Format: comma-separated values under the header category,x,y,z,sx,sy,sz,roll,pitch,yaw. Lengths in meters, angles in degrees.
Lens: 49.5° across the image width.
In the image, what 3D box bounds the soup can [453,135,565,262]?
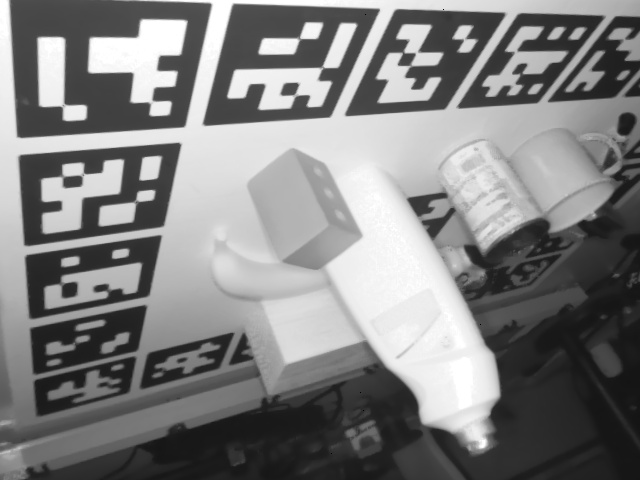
category,x,y,z,sx,sy,sz,roll,pitch,yaw
soup can,0.175,-0.040,0.653,0.068,0.102,0.067,-16,151,-8

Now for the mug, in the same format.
category,x,y,z,sx,sy,sz,roll,pitch,yaw
mug,0.267,-0.064,0.711,0.116,0.081,0.094,-34,146,9

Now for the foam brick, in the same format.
category,x,y,z,sx,sy,sz,roll,pitch,yaw
foam brick,-0.007,-0.047,0.553,0.051,0.078,0.053,-35,149,19

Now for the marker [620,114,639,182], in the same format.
category,x,y,z,sx,sy,sz,roll,pitch,yaw
marker,0.358,-0.103,0.784,0.020,0.019,0.120,-25,148,-4

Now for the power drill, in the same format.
category,x,y,z,sx,sy,sz,roll,pitch,yaw
power drill,0.256,0.008,0.846,0.185,0.057,0.186,-39,143,23

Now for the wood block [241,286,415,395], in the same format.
category,x,y,z,sx,sy,sz,roll,pitch,yaw
wood block,0.030,0.095,0.776,0.209,0.091,0.088,-6,143,-28

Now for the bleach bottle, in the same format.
category,x,y,z,sx,sy,sz,roll,pitch,yaw
bleach bottle,0.079,0.043,0.578,0.101,0.251,0.068,-38,147,23

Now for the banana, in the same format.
category,x,y,z,sx,sy,sz,roll,pitch,yaw
banana,-0.021,0.030,0.686,0.200,0.039,0.073,8,122,-39
